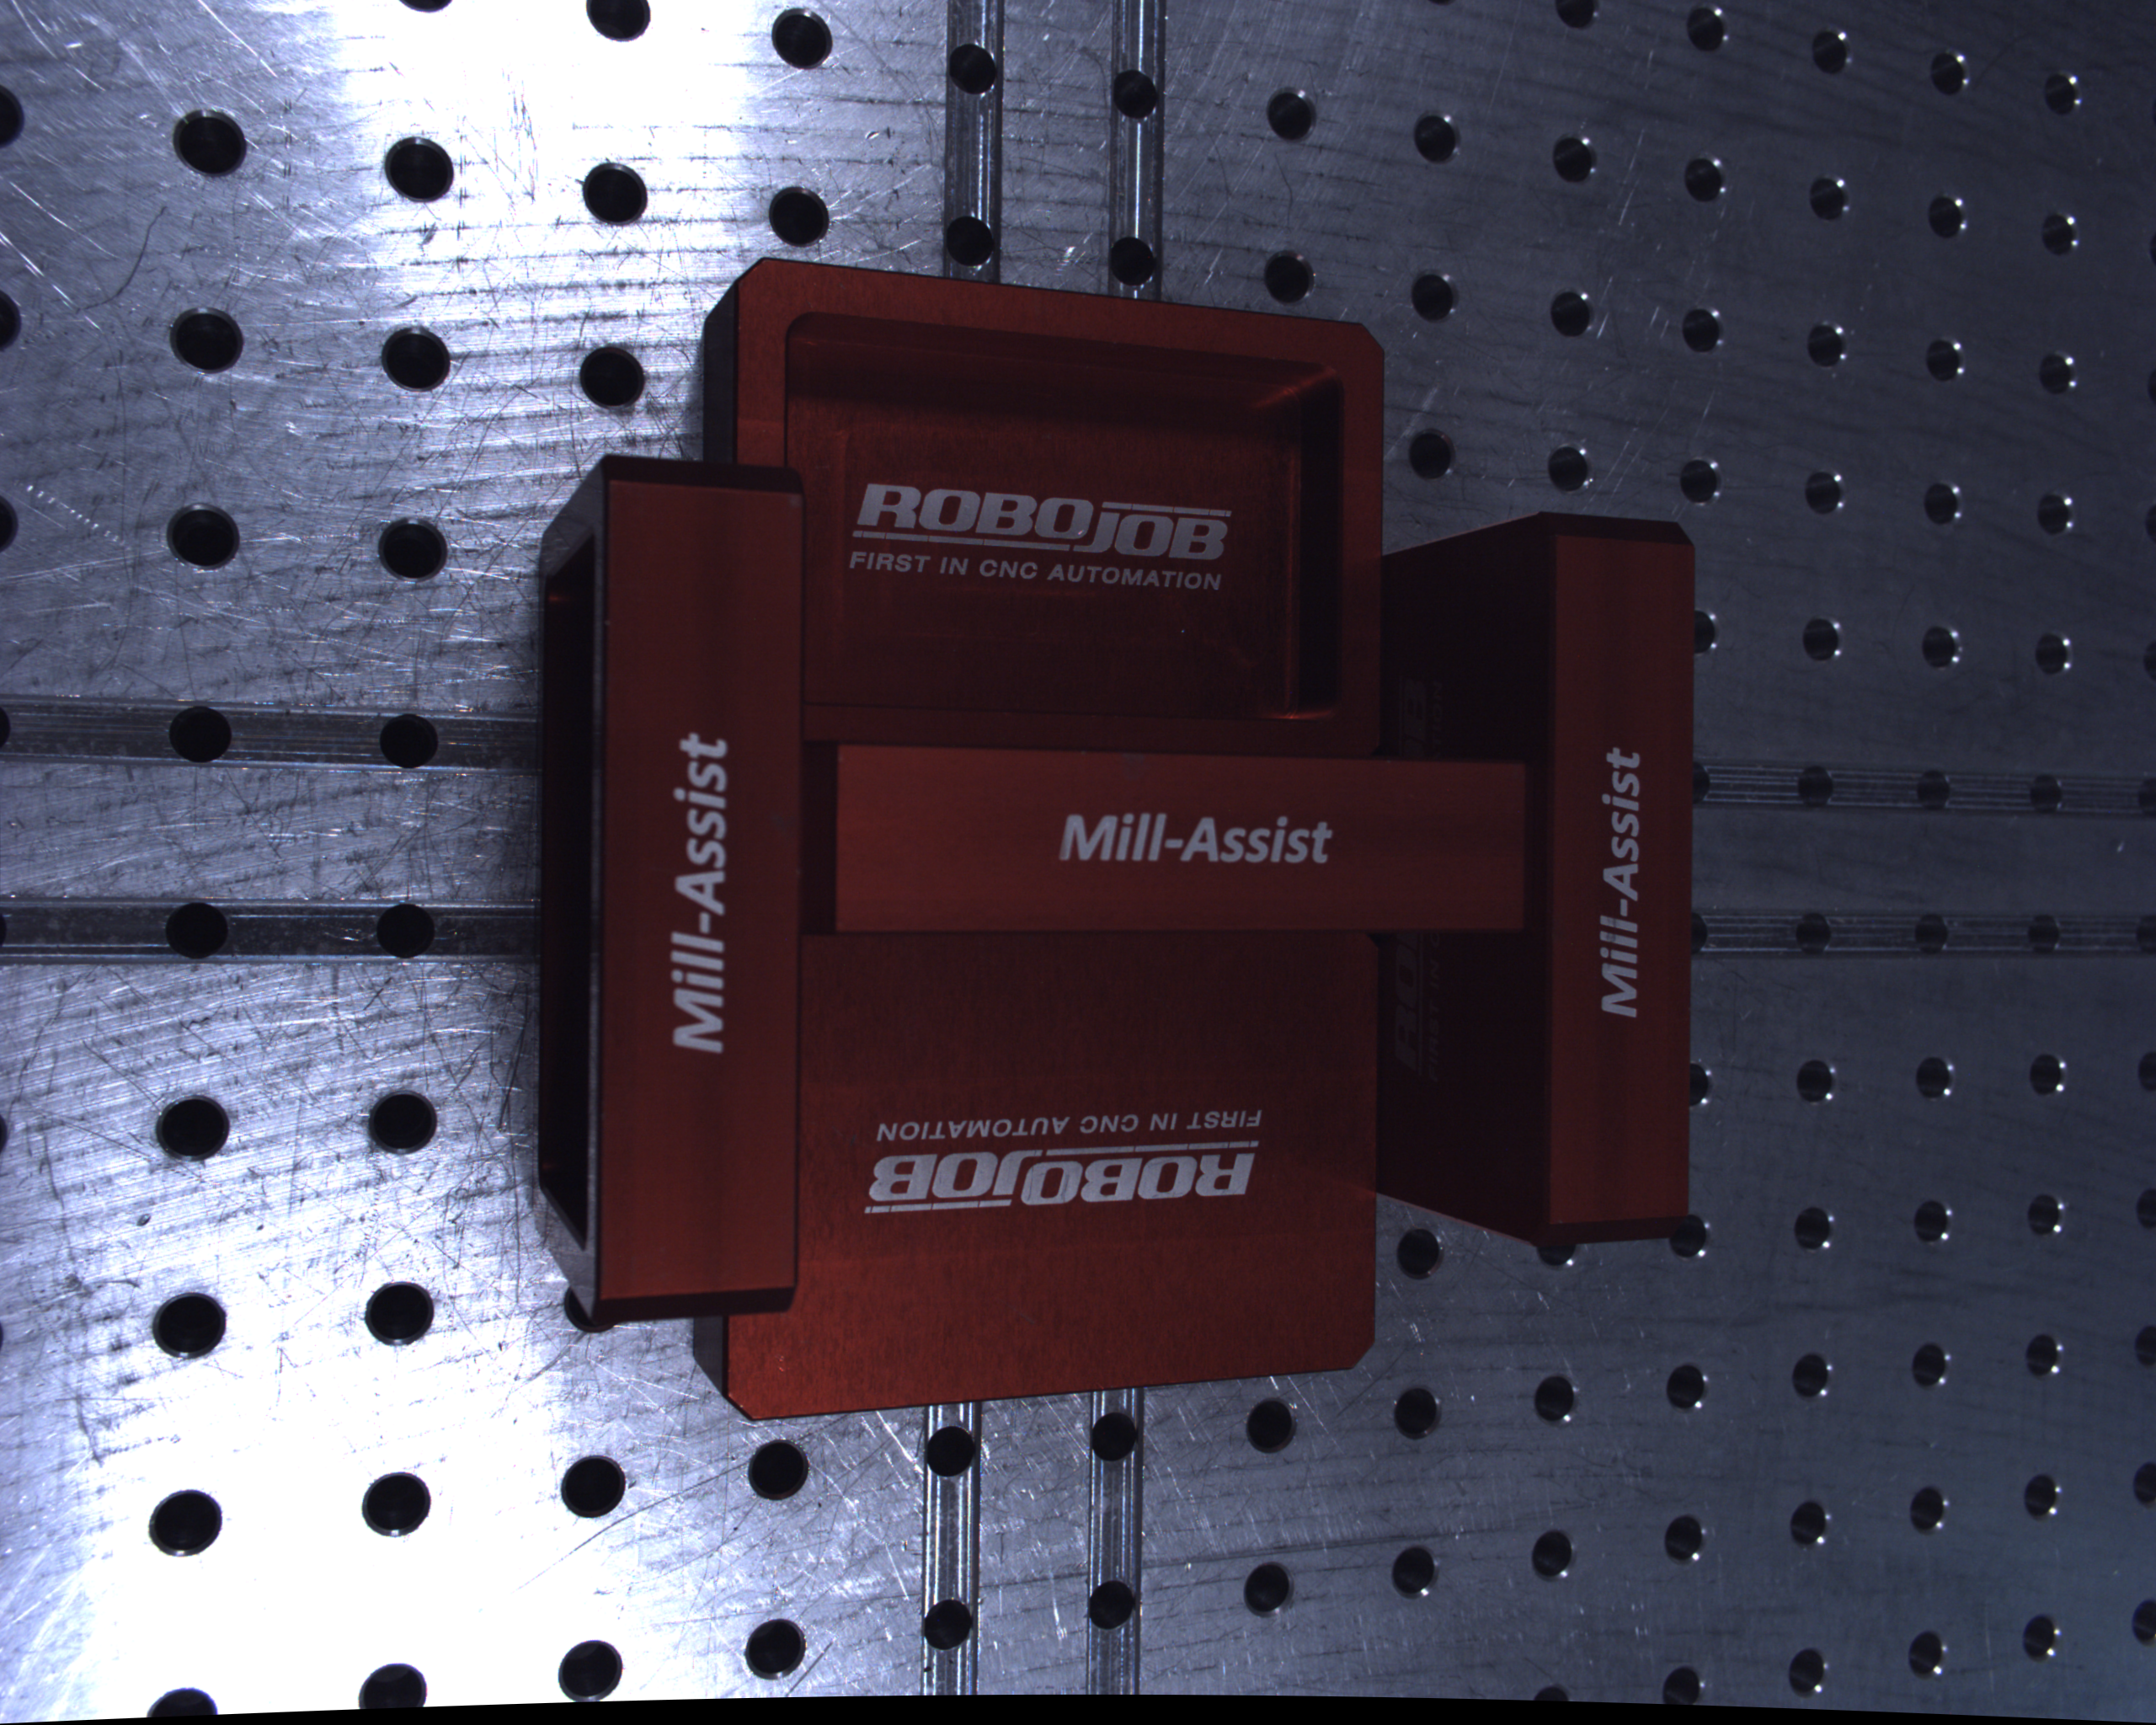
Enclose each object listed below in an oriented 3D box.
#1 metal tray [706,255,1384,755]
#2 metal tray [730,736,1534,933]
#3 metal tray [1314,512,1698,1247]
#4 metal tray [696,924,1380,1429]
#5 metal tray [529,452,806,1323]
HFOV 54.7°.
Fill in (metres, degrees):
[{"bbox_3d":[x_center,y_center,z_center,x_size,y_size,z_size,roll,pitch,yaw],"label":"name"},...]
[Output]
[{"bbox_3d":[-0.005,-0.064,0.409,0.131,0.030,0.089,1,90,-21],"label":"metal tray"},{"bbox_3d":[0.004,-0.004,0.379,0.131,0.090,0.030,1,90,-20],"label":"metal tray"},{"bbox_3d":[0.081,0.003,0.409,0.030,0.090,0.129,1,90,-20],"label":"metal tray"},{"bbox_3d":[-0.006,0.057,0.407,0.131,0.030,0.089,1,90,-21],"label":"metal tray"},{"bbox_3d":[-0.072,0.004,0.352,0.030,0.090,0.129,1,90,-20],"label":"metal tray"}]
